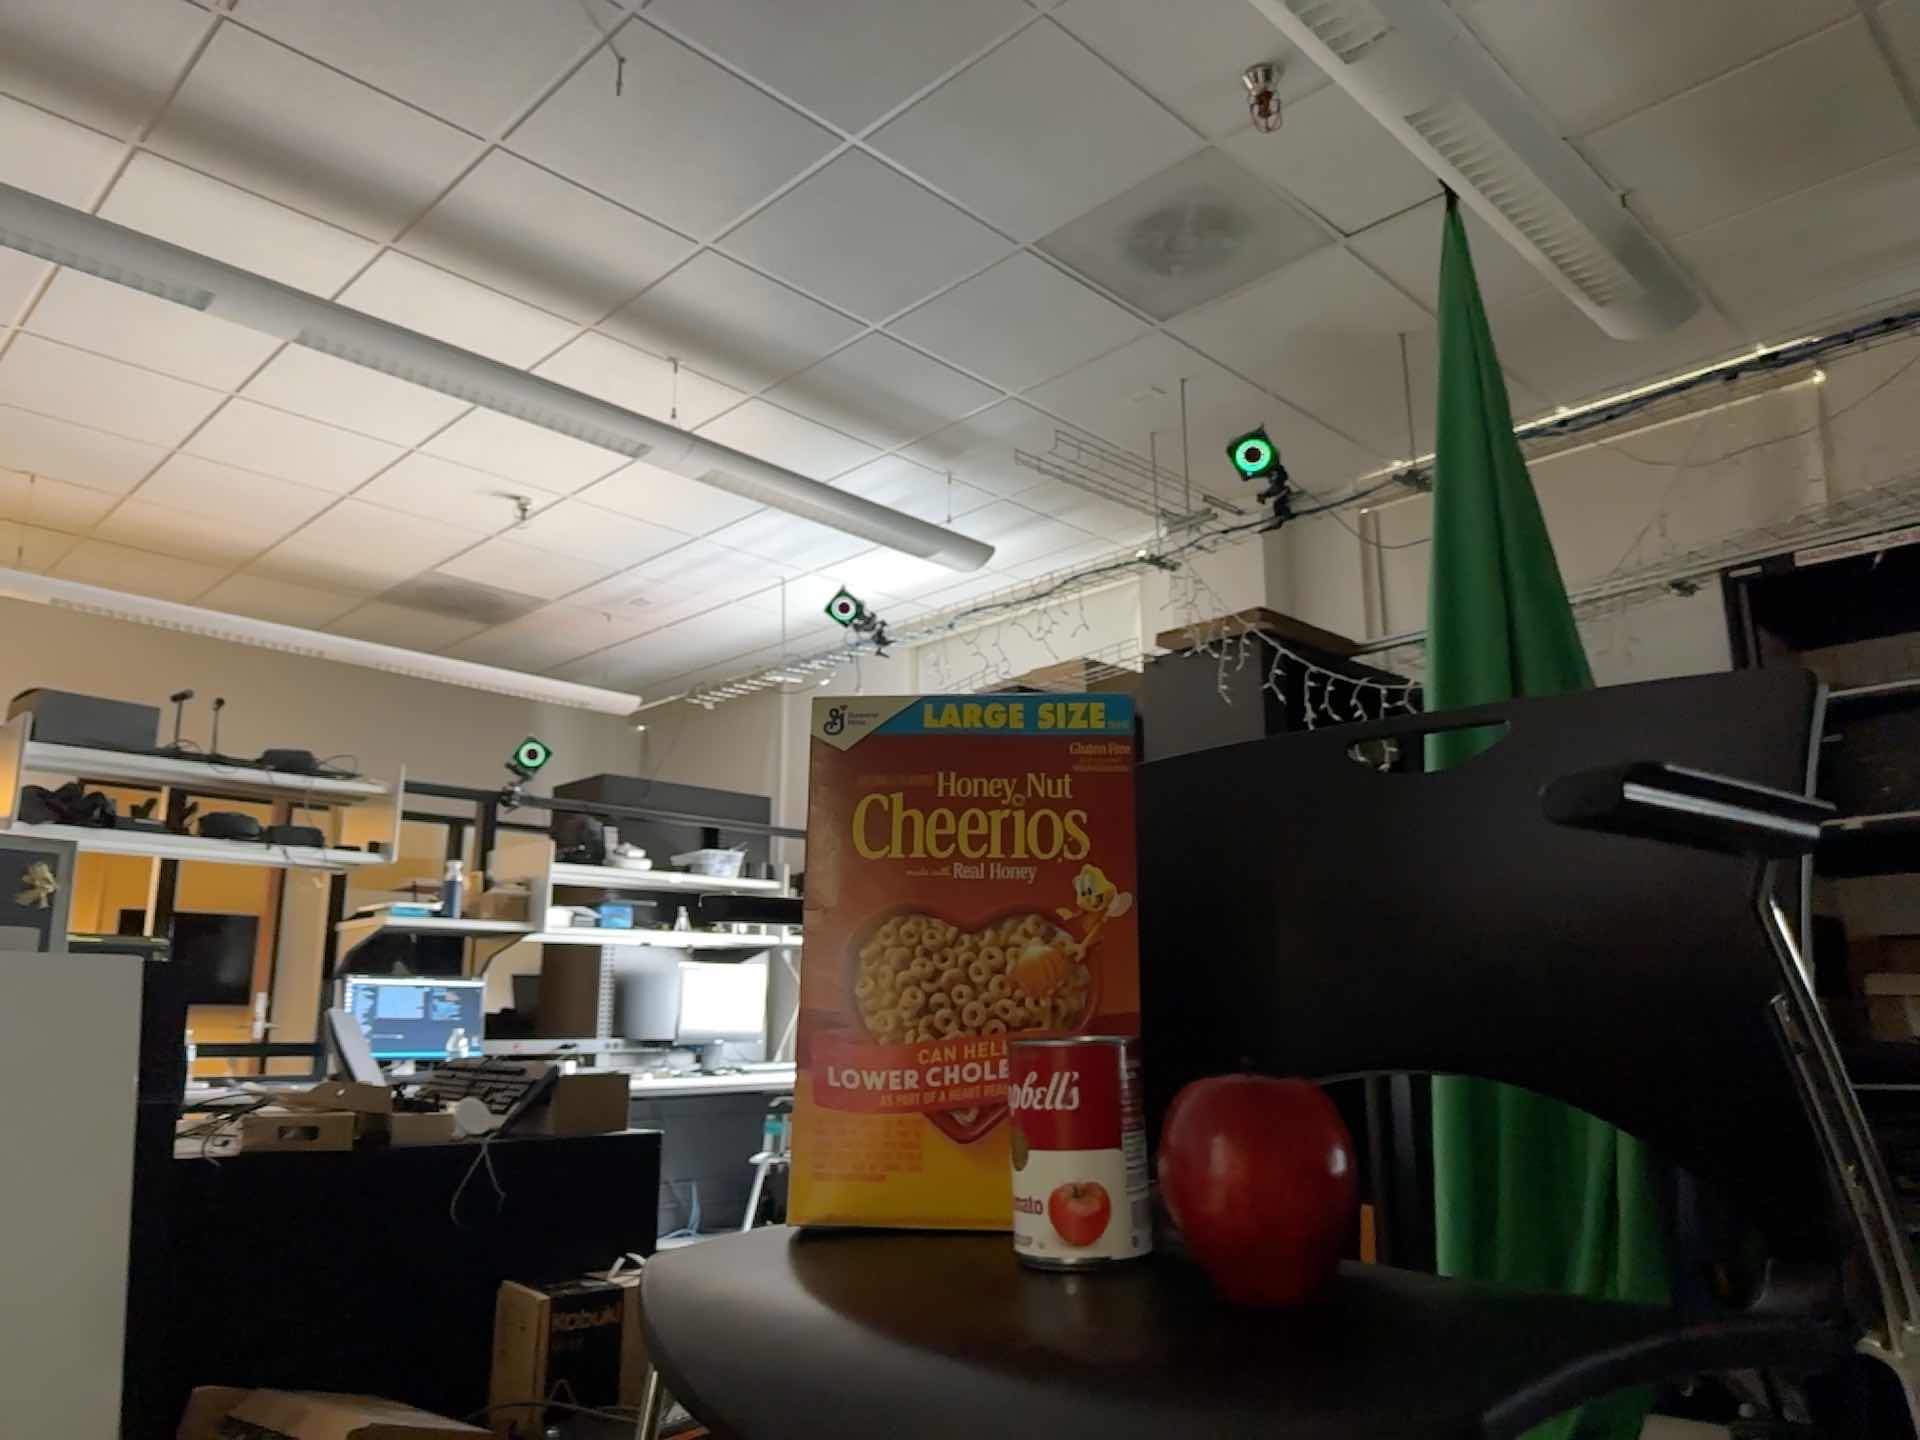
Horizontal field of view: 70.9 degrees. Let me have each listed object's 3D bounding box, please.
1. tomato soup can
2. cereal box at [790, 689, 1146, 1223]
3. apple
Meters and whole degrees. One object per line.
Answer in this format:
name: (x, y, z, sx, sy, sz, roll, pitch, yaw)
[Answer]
tomato soup can: (0.059, 0.207, 0.663, 0.067, 0.102, 0.067, 0, -10, 0)
cereal box: (0.008, 0.135, 0.805, 0.195, 0.297, 0.065, 0, -12, 6)
apple: (0.124, 0.188, 0.552, 0.079, 0.093, 0.079, -4, -9, -1)
